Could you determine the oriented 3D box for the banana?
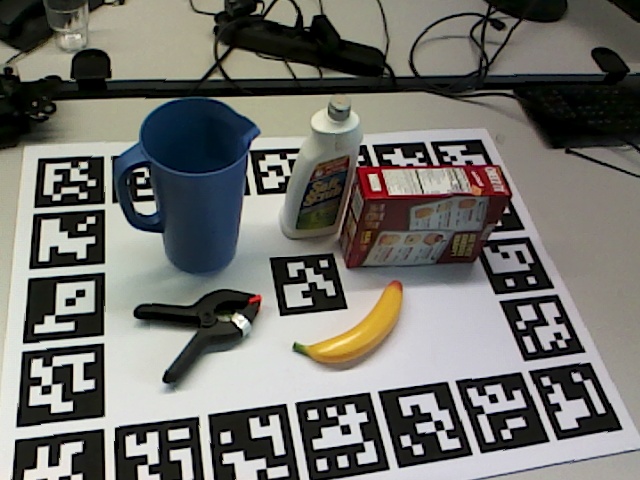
[{"bbox_3d":[0.065,0.125,0.900,0.074,0.039,0.197,40,57,22],"label":"banana"}]

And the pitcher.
[{"bbox_3d":[-0.174,-0.060,0.843,0.188,0.242,0.134,-20,56,-26],"label":"pitcher"}]

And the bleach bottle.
[{"bbox_3d":[-0.003,-0.095,0.921,0.102,0.250,0.068,-5,52,-12],"label":"bleach bottle"}]

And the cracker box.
[{"bbox_3d":[0.159,-0.032,0.930,0.213,0.164,0.072,-4,50,-10],"label":"cracker box"}]

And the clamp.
[{"bbox_3d":[-0.153,0.119,0.862,0.164,0.036,0.122,-18,55,-24],"label":"clamp"}]
